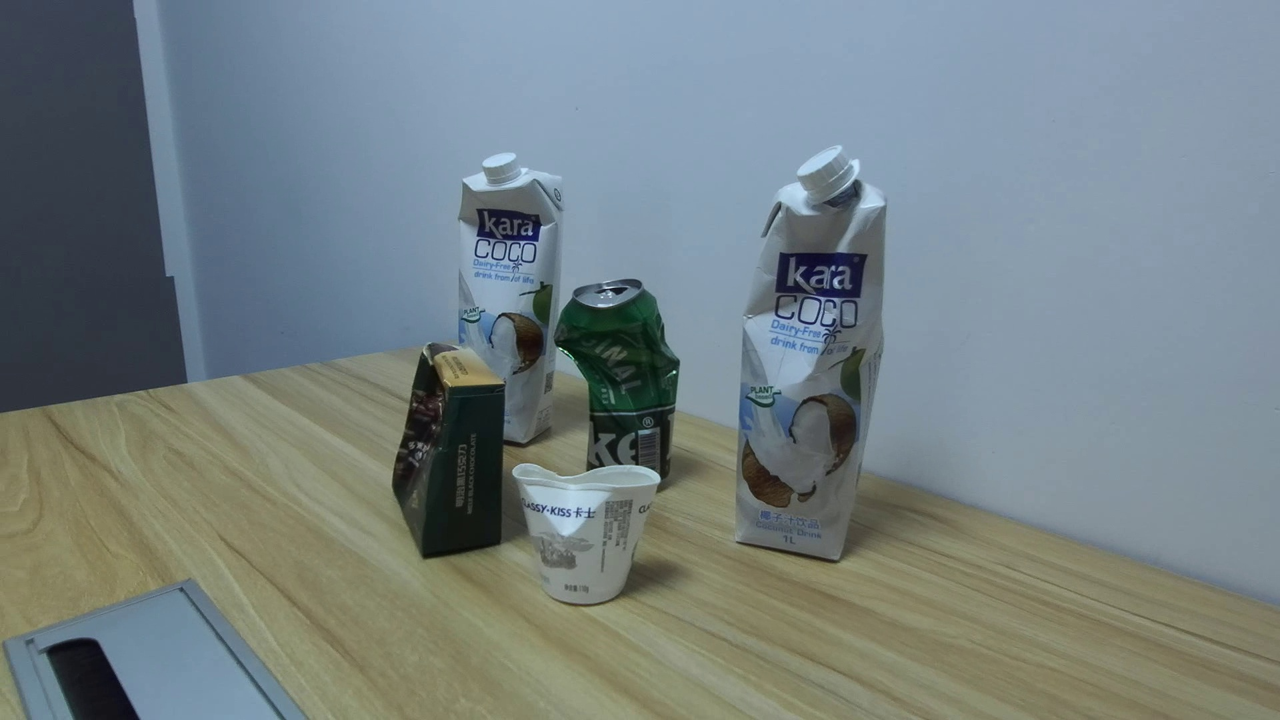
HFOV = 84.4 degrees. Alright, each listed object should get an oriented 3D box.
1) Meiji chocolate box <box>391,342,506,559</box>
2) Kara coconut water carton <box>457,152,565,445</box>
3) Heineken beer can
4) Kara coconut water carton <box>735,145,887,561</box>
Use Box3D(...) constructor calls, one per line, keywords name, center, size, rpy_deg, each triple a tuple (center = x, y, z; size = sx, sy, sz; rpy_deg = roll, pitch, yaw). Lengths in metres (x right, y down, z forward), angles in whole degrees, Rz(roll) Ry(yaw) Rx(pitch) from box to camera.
Box3D(name="Meiji chocolate box", center=(-0.132, 0.056, 0.482), size=(0.058, 0.110, 0.112), rpy_deg=(2, 13, -30))
Box3D(name="Kara coconut water carton", center=(-0.114, -0.053, 0.623), size=(0.099, 0.244, 0.071), rpy_deg=(4, 13, 15))
Box3D(name="Heineken beer can", center=(-0.011, 0.021, 0.542), size=(0.079, 0.159, 0.067), rpy_deg=(-21, 23, -40))
Box3D(name="Kara coconut water carton", center=(0.108, -0.003, 0.452), size=(0.083, 0.255, 0.079), rpy_deg=(12, 20, 28))
